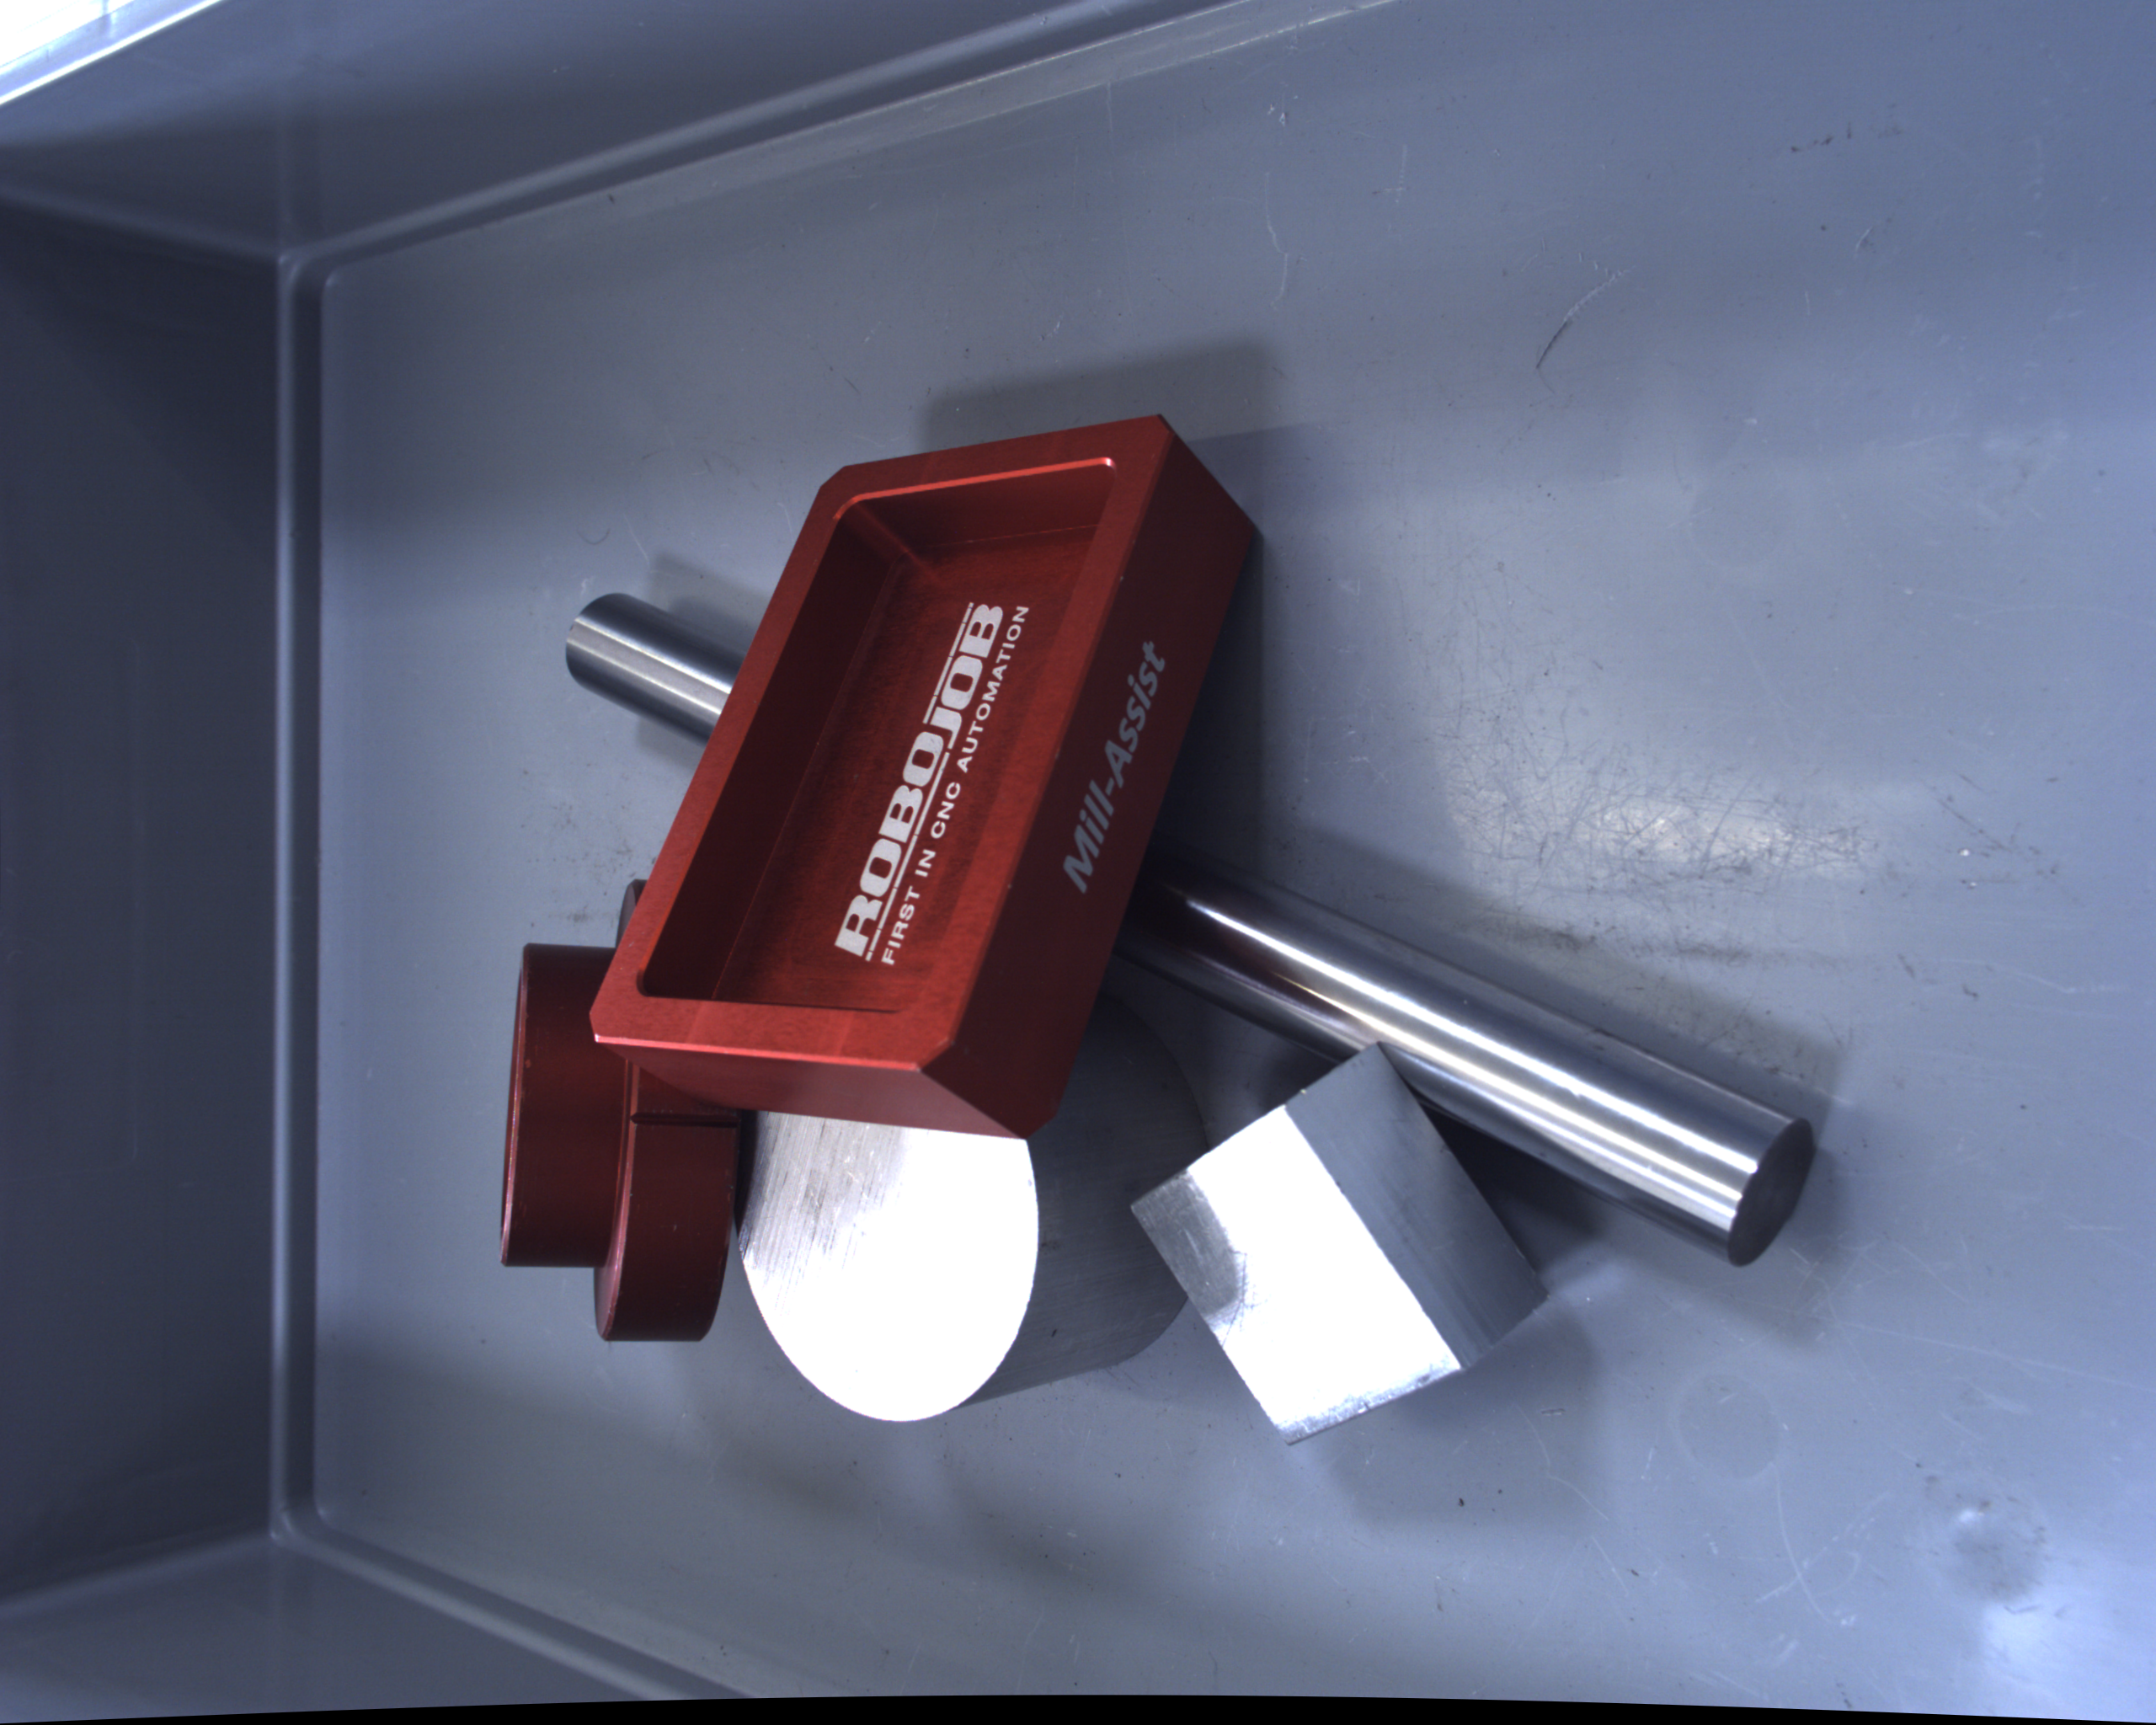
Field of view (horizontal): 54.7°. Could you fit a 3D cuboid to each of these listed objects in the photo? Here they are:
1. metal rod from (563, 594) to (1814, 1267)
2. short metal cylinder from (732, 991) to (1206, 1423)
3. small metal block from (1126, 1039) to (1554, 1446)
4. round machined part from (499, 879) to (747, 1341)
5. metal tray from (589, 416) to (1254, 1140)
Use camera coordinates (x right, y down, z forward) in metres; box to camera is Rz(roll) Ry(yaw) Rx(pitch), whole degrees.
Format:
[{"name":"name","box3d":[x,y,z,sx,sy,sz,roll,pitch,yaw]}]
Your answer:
[{"name":"metal rod","box3d":[-0.003,-0.001,0.407,0.300,0.025,0.025,25,106,37]},{"name":"short metal cylinder","box3d":[-0.021,0.063,0.406,0.080,0.050,0.079,0,90,40]},{"name":"small metal block","box3d":[0.043,0.065,0.354,0.050,0.025,0.050,55,140,7]},{"name":"round machined part","box3d":[-0.099,0.052,0.444,0.098,0.042,0.097,-175,89,-73]},{"name":"metal tray","box3d":[-0.028,-0.017,0.386,0.090,0.030,0.130,0,61,39]}]
